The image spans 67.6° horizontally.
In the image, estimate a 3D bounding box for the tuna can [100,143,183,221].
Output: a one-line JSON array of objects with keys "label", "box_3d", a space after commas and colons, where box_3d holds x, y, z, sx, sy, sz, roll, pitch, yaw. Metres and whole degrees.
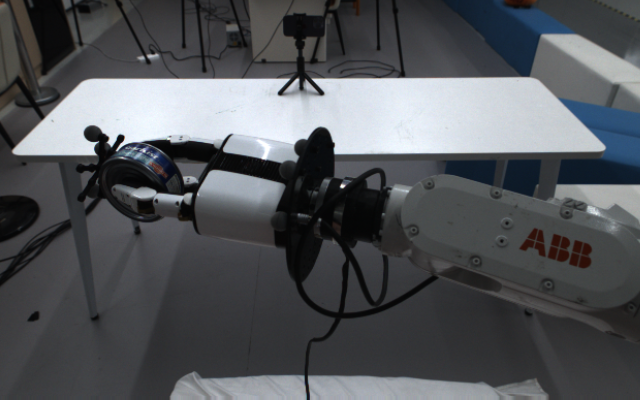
[{"label": "tuna can", "box_3d": [-0.193, -0.016, 0.528, 0.085, 0.085, 0.034, 8, 36, 9]}]
